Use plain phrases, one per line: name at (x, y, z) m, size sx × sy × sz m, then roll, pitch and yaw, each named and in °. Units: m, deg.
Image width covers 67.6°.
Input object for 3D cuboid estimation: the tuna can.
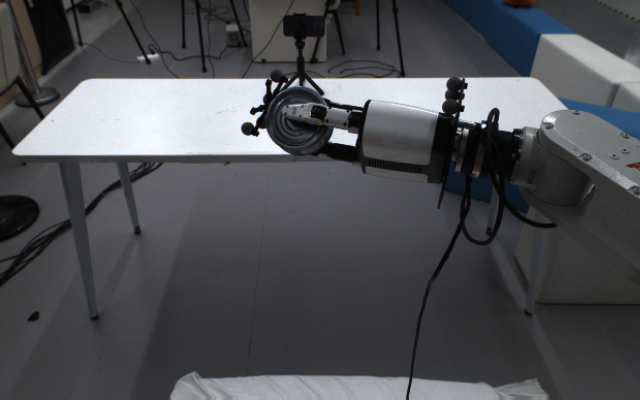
tuna can at (-0.024, -0.099, 0.626) m, size 0.085 × 0.085 × 0.034 m, roll 9°, pitch -4°, yaw 10°
